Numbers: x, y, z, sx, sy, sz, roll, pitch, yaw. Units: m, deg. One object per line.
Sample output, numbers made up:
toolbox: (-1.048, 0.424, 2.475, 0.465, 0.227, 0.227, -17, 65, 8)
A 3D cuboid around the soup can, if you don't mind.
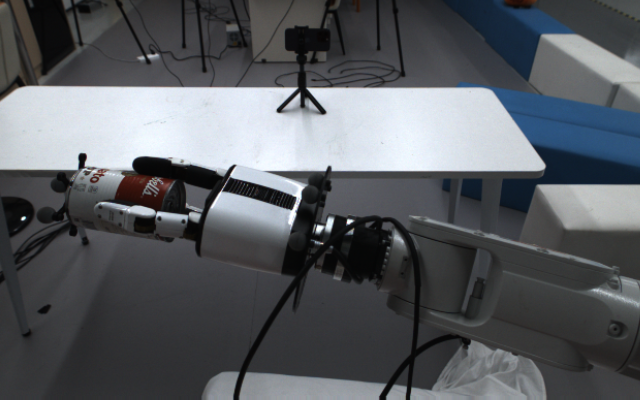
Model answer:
soup can: (-0.201, 0.005, 0.514, 0.101, 0.067, 0.067, 9, 35, 2)
